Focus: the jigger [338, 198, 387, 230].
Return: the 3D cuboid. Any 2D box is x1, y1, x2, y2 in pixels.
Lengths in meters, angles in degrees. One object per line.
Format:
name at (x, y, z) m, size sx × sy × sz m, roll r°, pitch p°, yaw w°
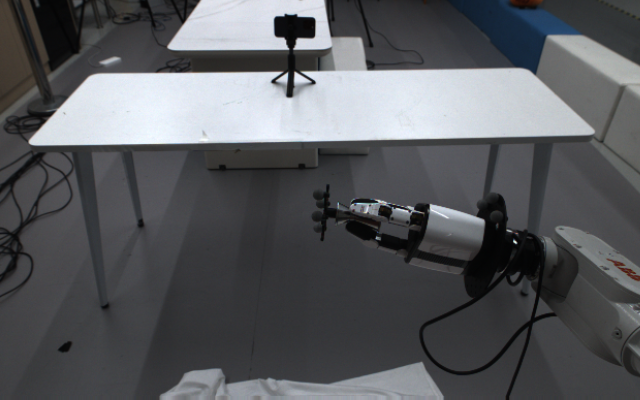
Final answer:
jigger at (0.065, 0.019, 0.742) m, size 0.071 × 0.043 × 0.043 m, roll 5°, pitch 35°, yaw 3°
